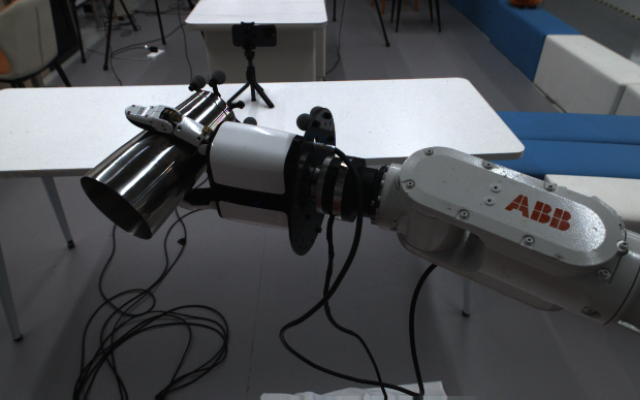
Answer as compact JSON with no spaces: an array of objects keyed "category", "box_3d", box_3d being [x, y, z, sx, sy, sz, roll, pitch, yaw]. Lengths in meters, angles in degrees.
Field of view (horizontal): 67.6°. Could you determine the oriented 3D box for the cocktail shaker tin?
[{"category":"cocktail shaker tin","box_3d":[-0.168,-0.052,0.545,0.093,0.093,0.170,19,55,23]}]
